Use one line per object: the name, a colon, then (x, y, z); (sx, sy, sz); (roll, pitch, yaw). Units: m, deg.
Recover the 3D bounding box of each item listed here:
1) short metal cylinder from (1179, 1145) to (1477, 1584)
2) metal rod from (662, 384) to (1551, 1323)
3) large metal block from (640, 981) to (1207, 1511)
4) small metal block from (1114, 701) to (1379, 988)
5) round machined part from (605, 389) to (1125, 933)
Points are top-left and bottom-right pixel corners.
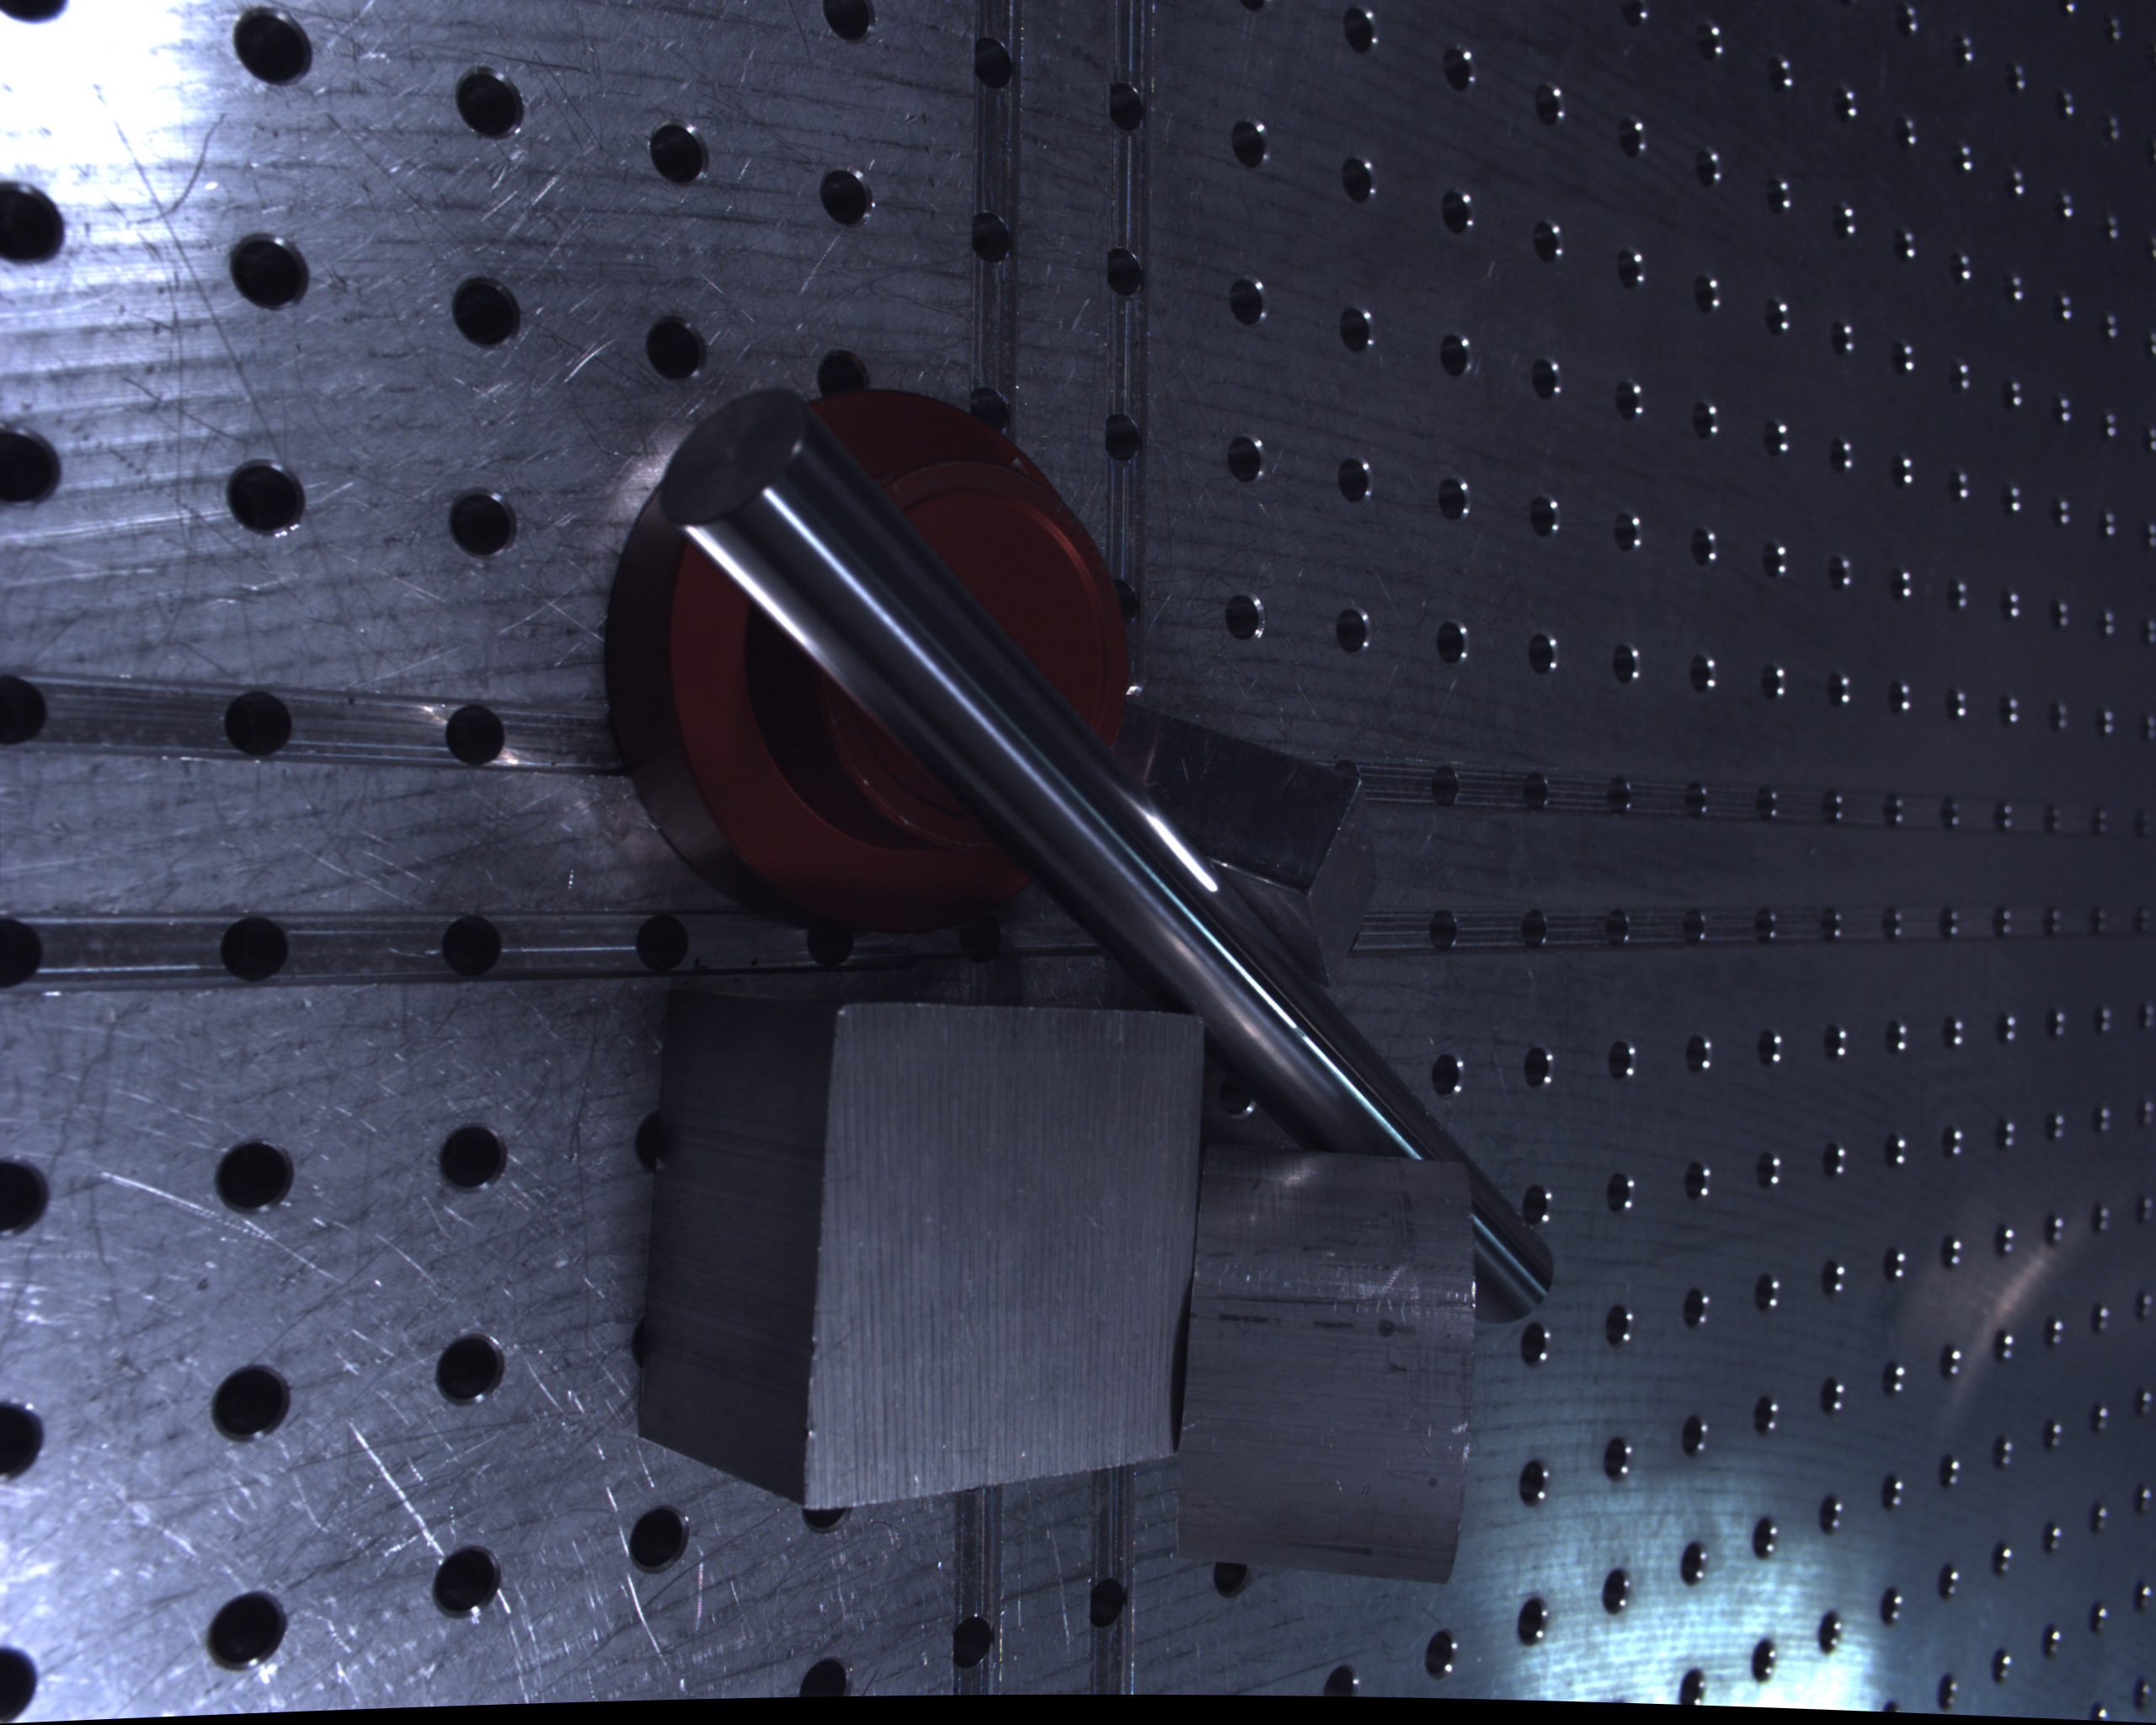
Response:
short metal cylinder: (0.048, 0.097, 0.407); (0.080, 0.050, 0.079); (1, 92, -85)
metal rod: (0.027, 0.021, 0.392); (0.300, 0.025, 0.025); (46, 62, -45)
large metal block: (-0.026, 0.064, 0.370); (0.081, 0.050, 0.080); (6, 86, -40)
small metal block: (0.029, -0.003, 0.407); (0.025, 0.050, 0.050); (-64, 160, -16)
round machined part: (-0.030, -0.036, 0.374); (0.099, 0.042, 0.097); (0, 90, -40)
